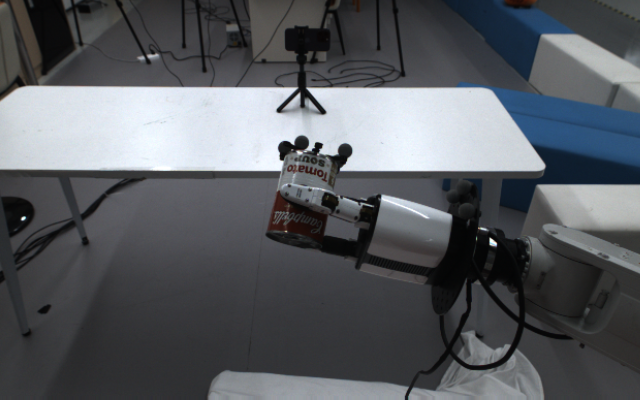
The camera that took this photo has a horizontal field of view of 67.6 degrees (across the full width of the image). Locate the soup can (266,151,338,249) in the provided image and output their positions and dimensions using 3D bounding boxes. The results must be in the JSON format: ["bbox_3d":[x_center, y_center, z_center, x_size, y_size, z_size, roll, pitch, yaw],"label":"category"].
[{"bbox_3d":[-0.019,-0.001,0.573,0.067,0.067,0.101,9,74,9],"label":"soup can"}]
